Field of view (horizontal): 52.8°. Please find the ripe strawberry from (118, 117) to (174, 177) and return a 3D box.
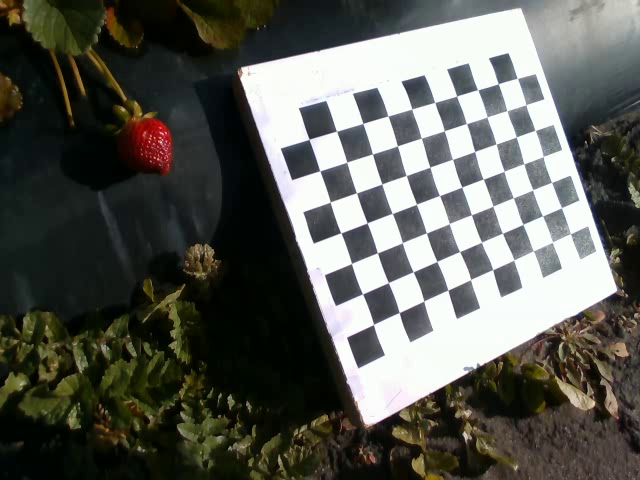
[{"bbox_3d":[-0.106,-0.055,0.400,0.040,0.044,0.037,-42,-2,-23],"label":"ripe strawberry"}]
